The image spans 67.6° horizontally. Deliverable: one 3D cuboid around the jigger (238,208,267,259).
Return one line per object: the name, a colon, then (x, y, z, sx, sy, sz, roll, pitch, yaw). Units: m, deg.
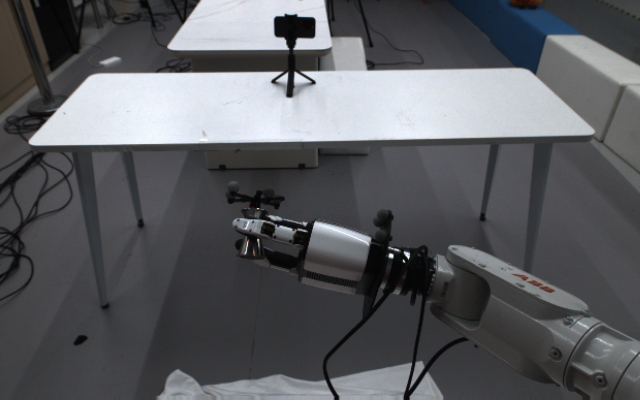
jigger: (-0.097, 0.048, 0.693, 0.043, 0.043, 0.071, 3, 76, 1)
